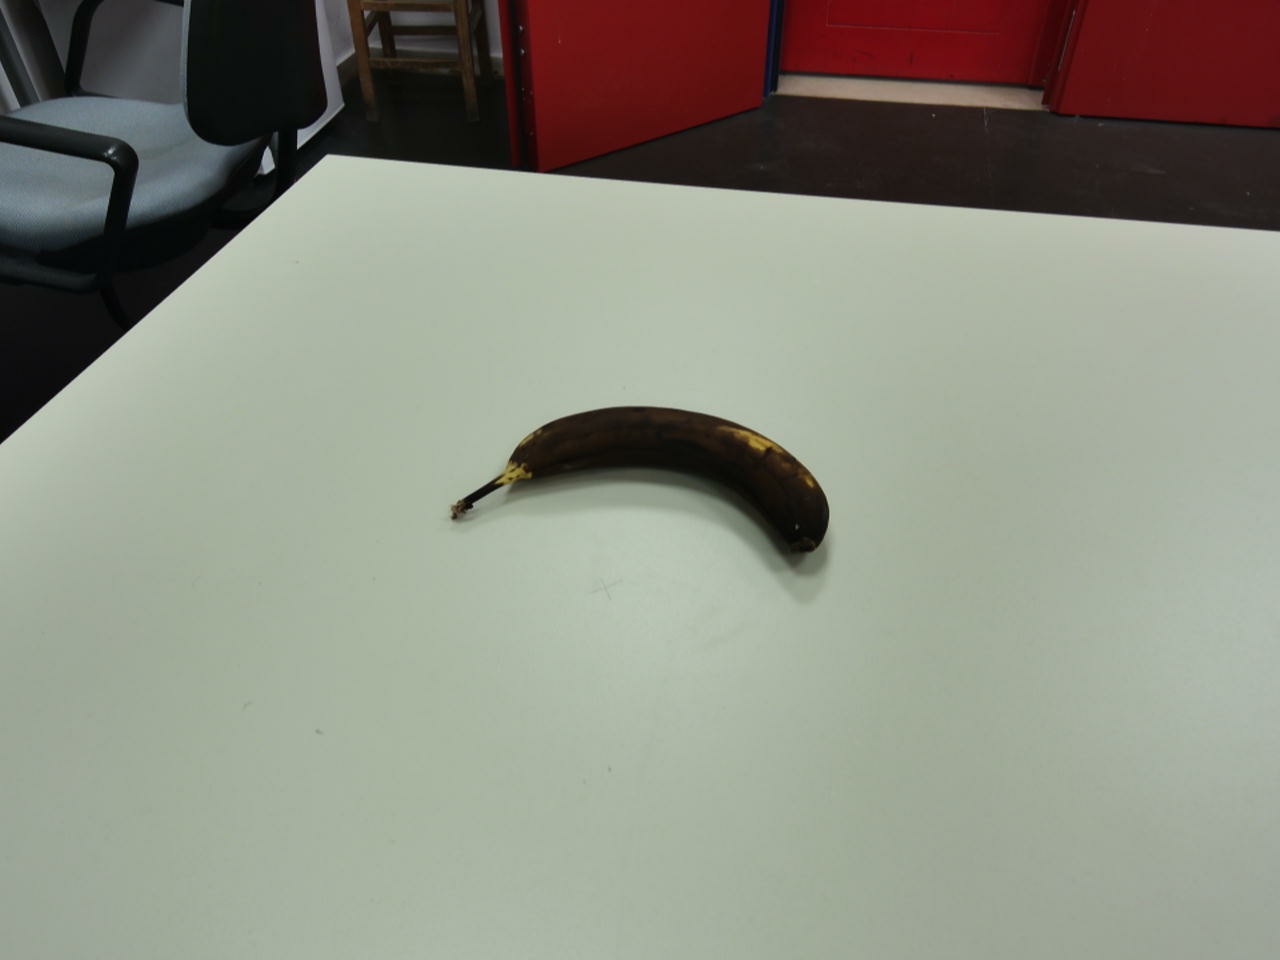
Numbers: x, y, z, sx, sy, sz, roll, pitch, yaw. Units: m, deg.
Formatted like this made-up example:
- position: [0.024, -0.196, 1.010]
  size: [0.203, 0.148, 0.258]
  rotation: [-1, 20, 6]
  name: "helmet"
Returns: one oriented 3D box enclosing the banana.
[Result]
- position: [0.004, -0.007, 0.514]
  size: [0.188, 0.034, 0.091]
  rotation: [8, 40, 11]
  name: "banana"
